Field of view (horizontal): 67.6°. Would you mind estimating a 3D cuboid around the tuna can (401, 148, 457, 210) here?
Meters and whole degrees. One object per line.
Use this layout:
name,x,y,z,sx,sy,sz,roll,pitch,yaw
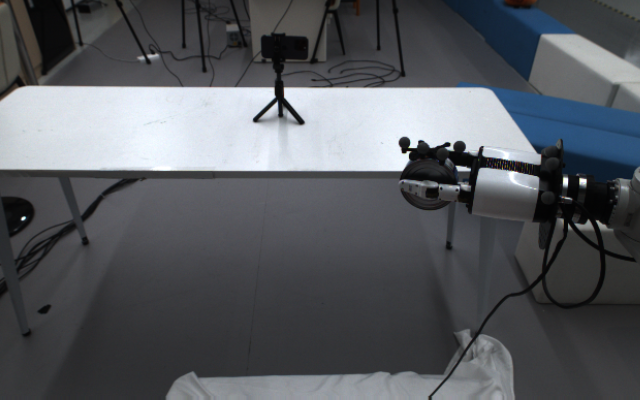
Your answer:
tuna can,0.168,-0.033,0.738,0.085,0.085,0.034,13,29,16
